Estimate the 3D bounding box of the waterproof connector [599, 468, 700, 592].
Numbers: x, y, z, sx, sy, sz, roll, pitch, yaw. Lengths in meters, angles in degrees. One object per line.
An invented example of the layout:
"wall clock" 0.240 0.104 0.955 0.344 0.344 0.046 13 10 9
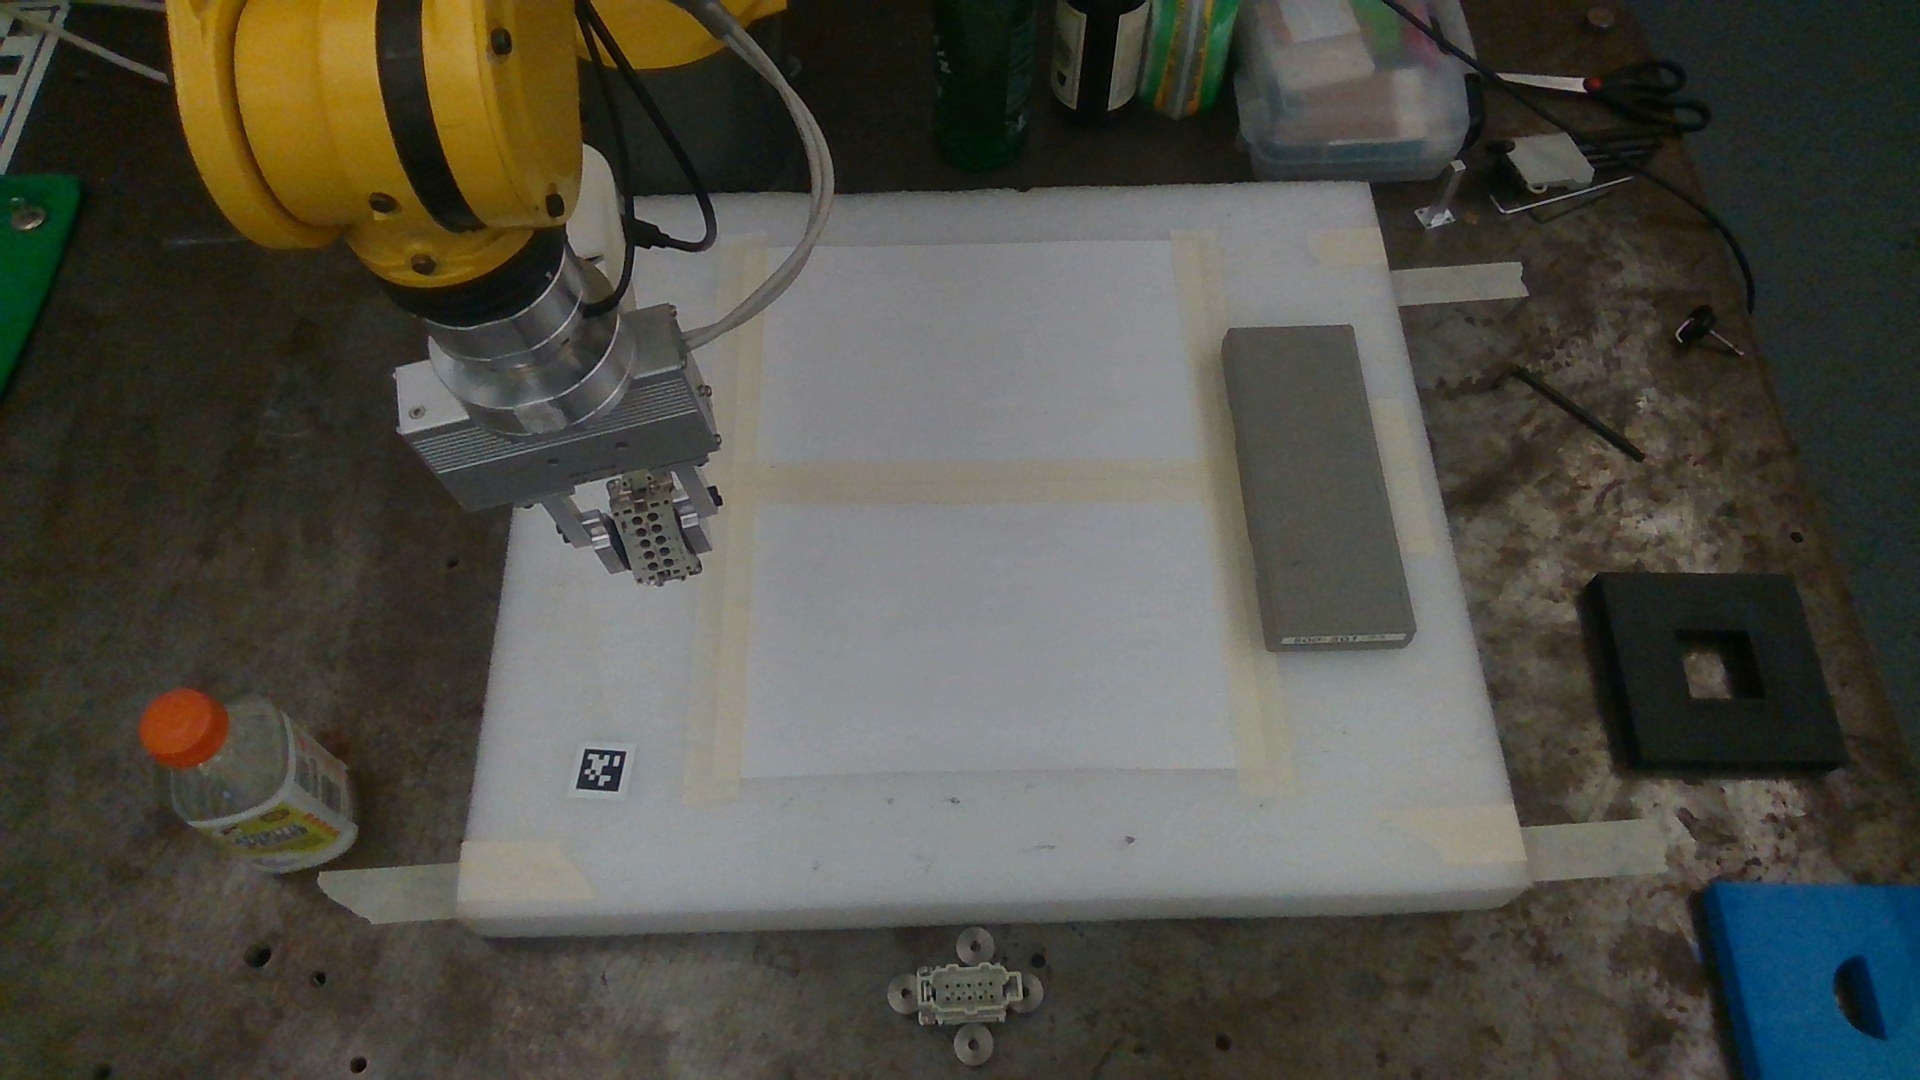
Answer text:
"waterproof connector" -0.164 -0.005 0.733 0.037 0.069 0.038 -12 27 4
